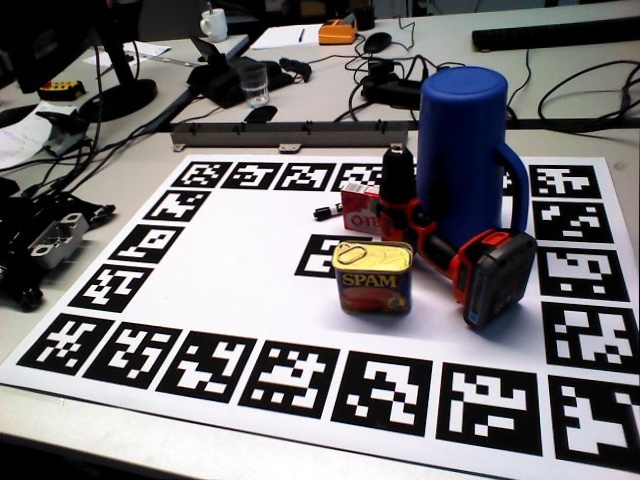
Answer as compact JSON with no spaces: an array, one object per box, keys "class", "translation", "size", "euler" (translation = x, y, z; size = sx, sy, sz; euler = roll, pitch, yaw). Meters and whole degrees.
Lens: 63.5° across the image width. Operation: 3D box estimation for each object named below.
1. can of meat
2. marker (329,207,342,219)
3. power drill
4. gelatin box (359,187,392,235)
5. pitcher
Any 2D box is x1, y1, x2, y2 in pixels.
[{"class":"can of meat","translation":[0.088,0.058,0.671],"size":[0.102,0.084,0.057],"euler":[4,38,17]},{"class":"marker","translation":[0.075,-0.058,0.874],"size":[0.121,0.020,0.019],"euler":[-14,38,-2]},{"class":"power drill","translation":[0.164,-0.014,0.667],"size":[0.057,0.185,0.187],"euler":[-34,49,-23]},{"class":"gelatin box","translation":[0.108,-0.039,0.803],"size":[0.090,0.073,0.030],"euler":[13,48,25]},{"class":"pitcher","translation":[0.235,-0.092,0.712],"size":[0.132,0.243,0.189],"euler":[-36,38,-24]}]
